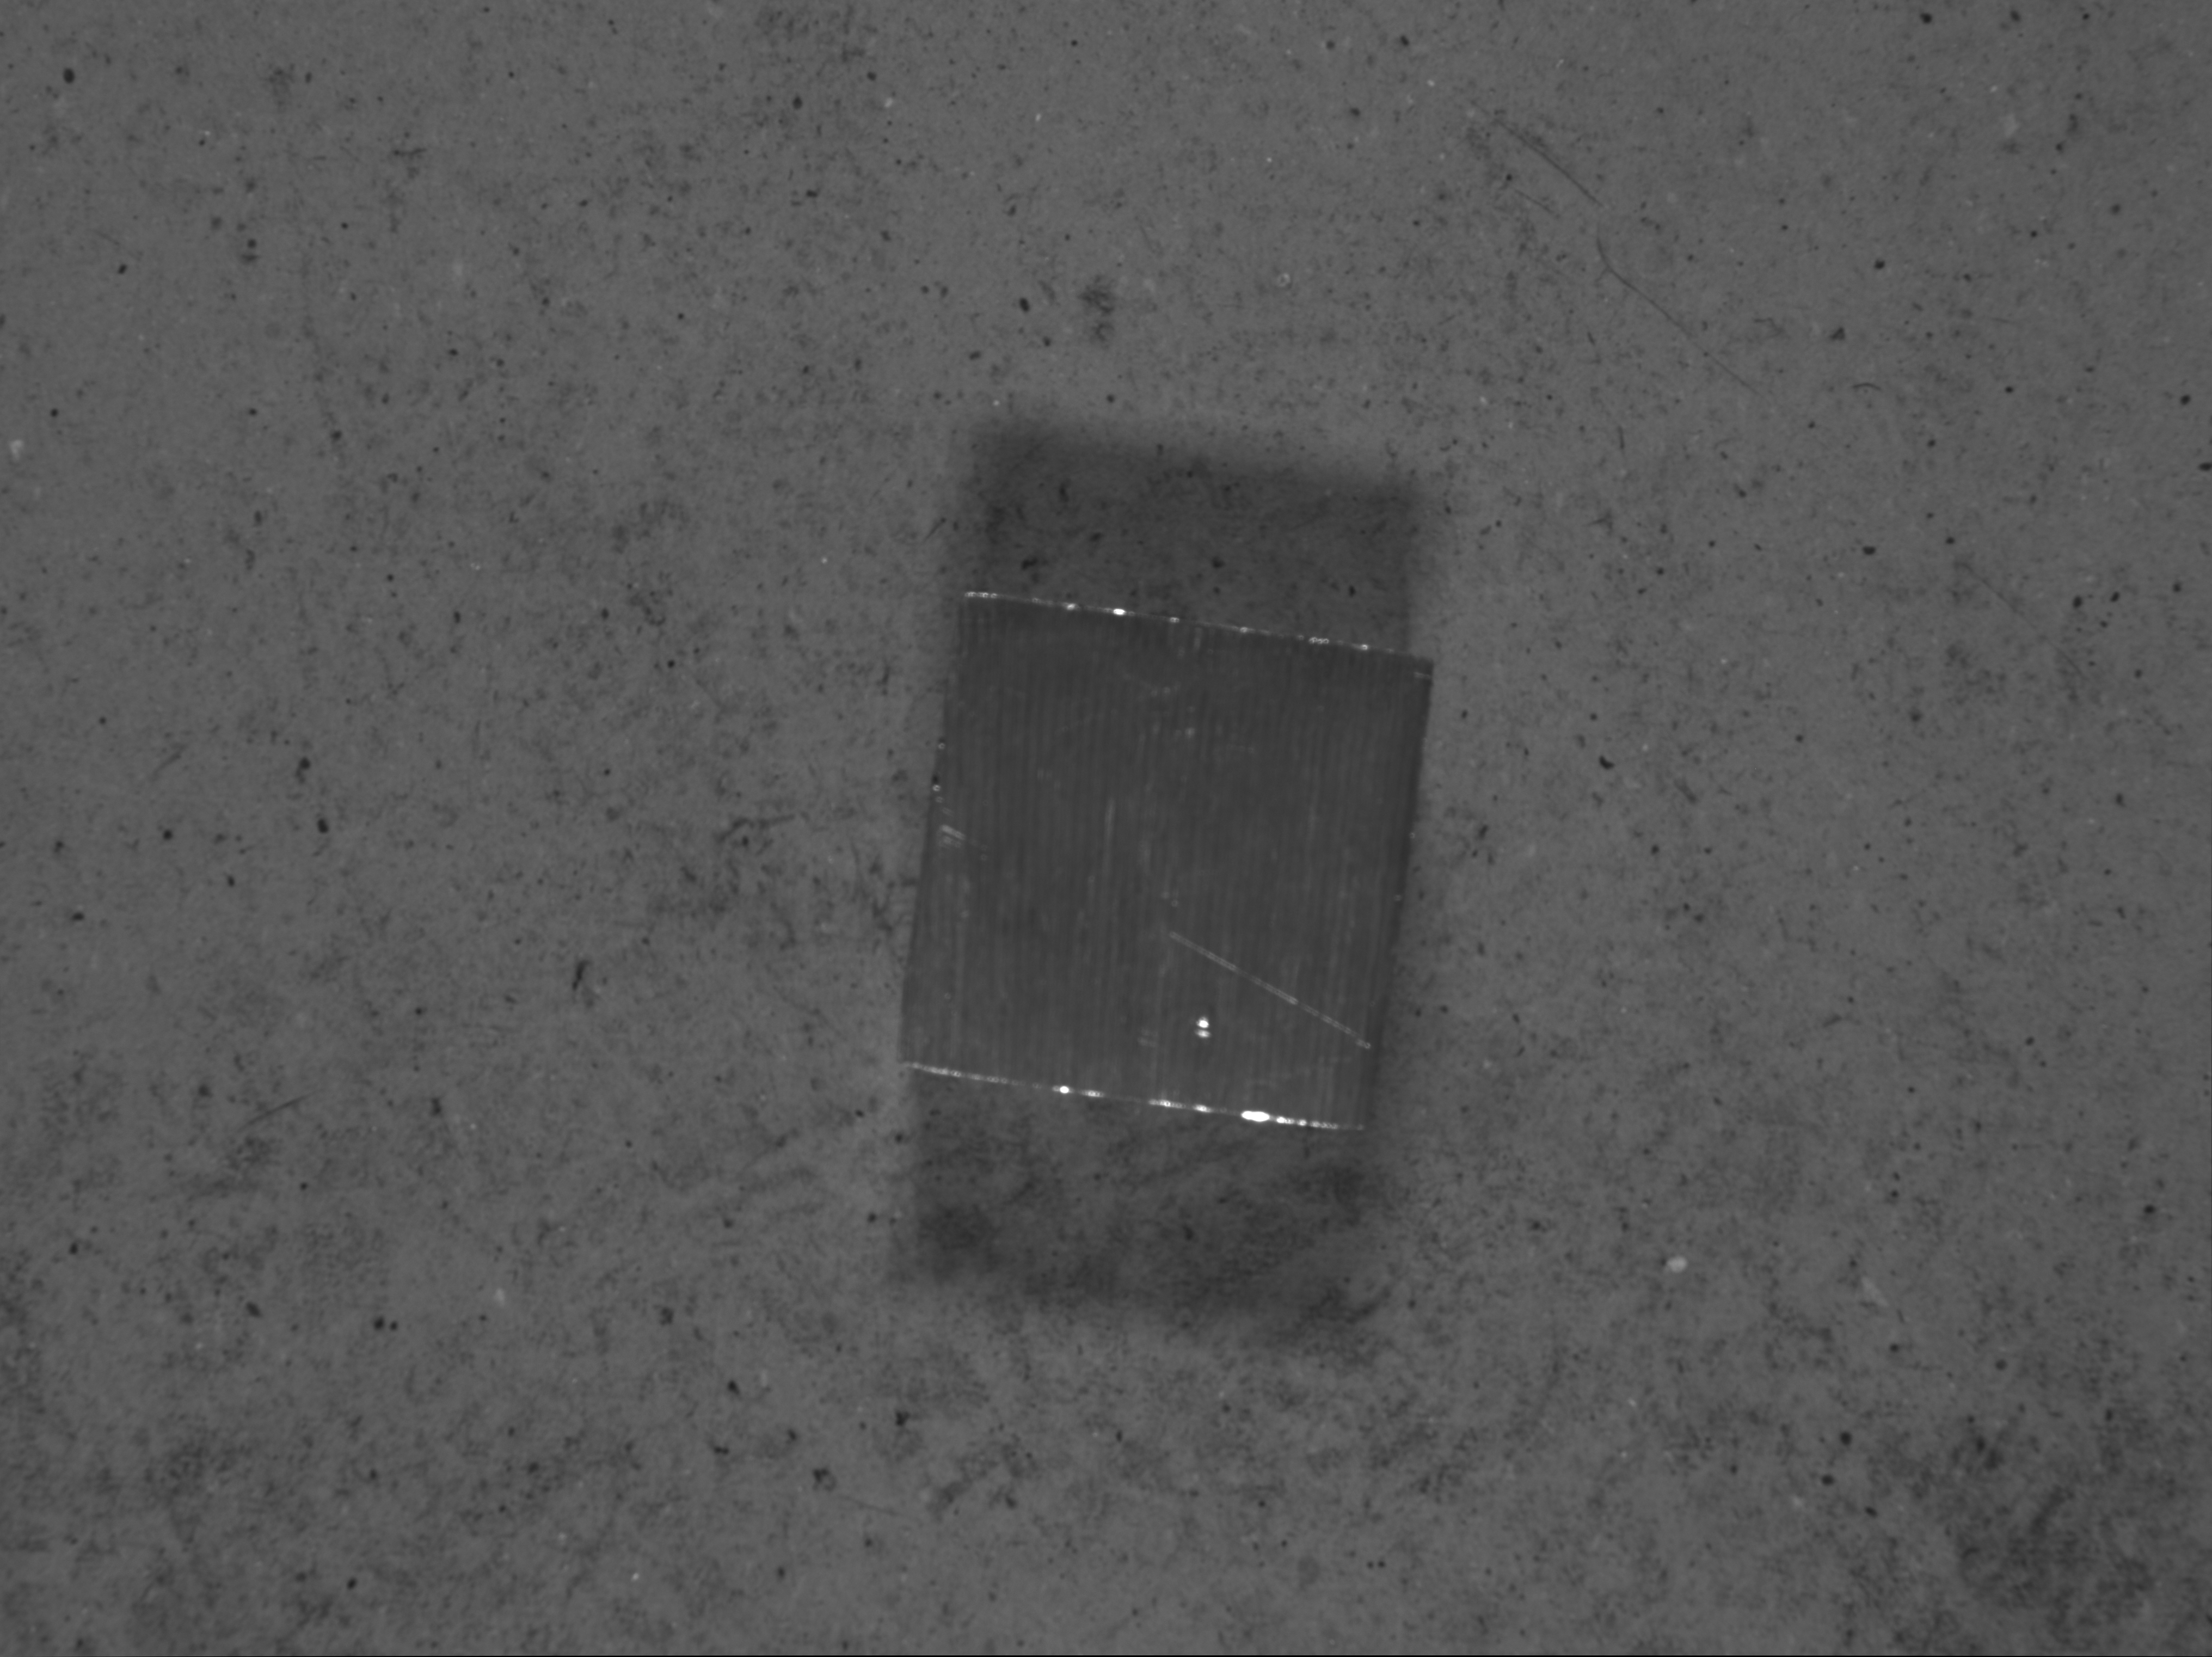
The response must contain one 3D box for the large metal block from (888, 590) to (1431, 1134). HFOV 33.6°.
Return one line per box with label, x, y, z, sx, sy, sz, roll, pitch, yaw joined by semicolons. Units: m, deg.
large metal block;0.009;0.006;0.633;0.080;0.050;0.080;8;90;0
